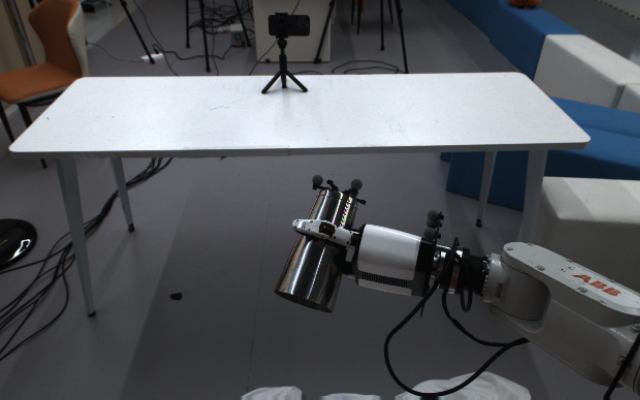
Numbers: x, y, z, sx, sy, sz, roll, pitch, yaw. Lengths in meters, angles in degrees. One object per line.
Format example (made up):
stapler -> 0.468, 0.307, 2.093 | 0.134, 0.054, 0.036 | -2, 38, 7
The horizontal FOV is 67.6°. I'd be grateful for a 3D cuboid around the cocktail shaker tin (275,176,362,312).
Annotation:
cocktail shaker tin -> 0.000, 0.073, 0.732 | 0.093, 0.093, 0.170 | 14, 70, 16
